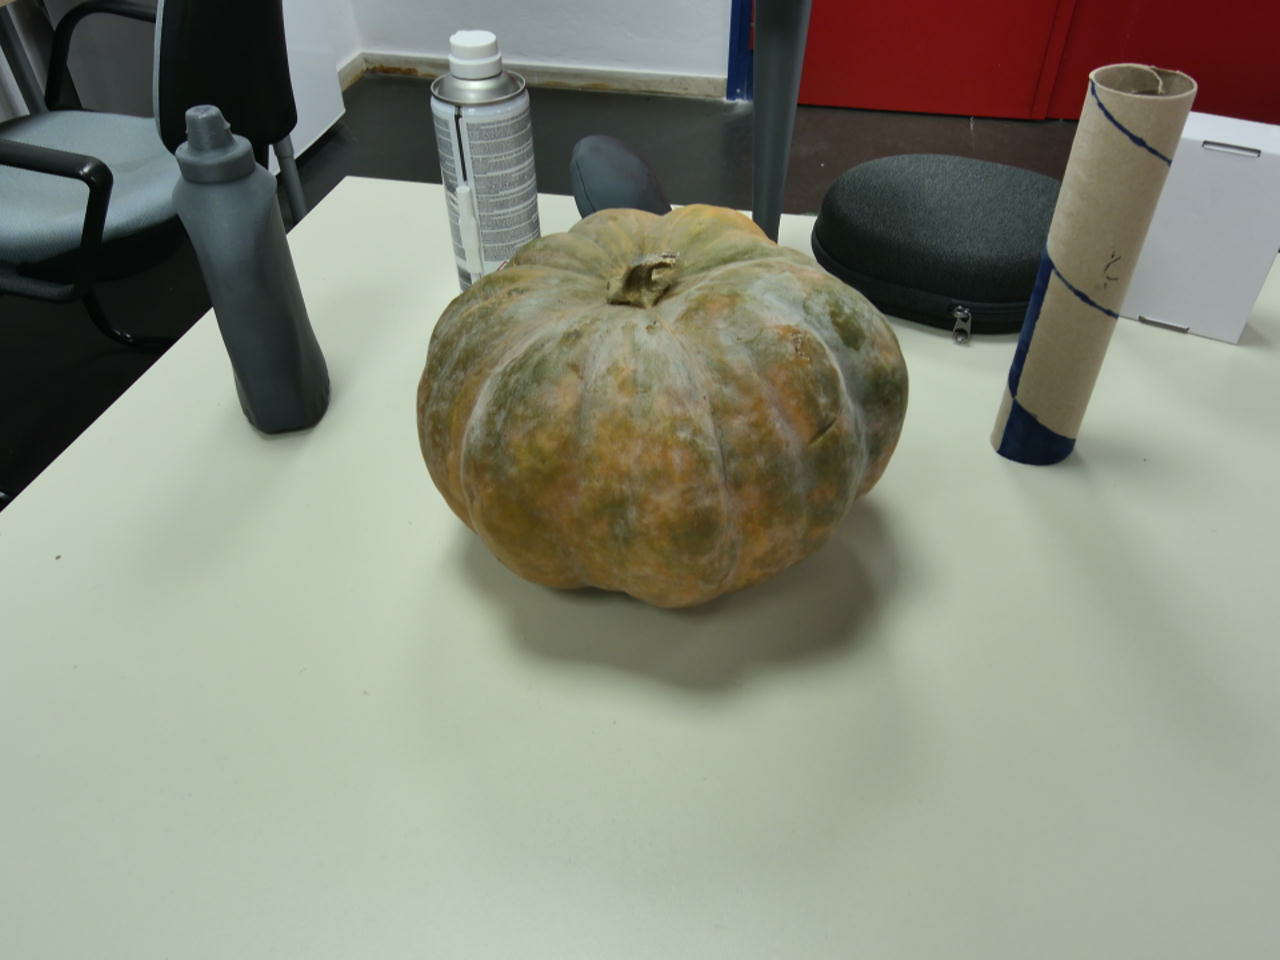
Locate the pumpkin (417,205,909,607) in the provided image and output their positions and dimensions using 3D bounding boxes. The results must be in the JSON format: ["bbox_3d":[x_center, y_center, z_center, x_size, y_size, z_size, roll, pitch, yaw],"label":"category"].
[{"bbox_3d":[0.005,-0.044,0.529,0.252,0.169,0.251,0,39,0],"label":"pumpkin"}]
